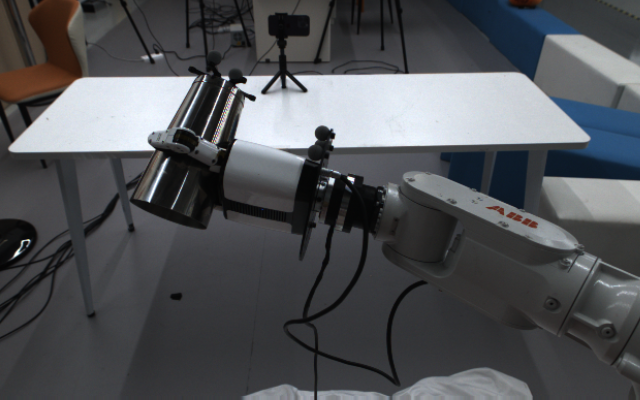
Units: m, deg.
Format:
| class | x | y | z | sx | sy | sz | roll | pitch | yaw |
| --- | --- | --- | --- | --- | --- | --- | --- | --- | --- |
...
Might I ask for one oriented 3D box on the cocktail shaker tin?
| class | x | y | z | sx | sy | sz | roll | pitch | yaw |
| --- | --- | --- | --- | --- | --- | --- | --- | --- | --- |
| cocktail shaker tin | -0.151 | -0.059 | 0.580 | 0.093 | 0.093 | 0.170 | 14 | 74 | 17 |
